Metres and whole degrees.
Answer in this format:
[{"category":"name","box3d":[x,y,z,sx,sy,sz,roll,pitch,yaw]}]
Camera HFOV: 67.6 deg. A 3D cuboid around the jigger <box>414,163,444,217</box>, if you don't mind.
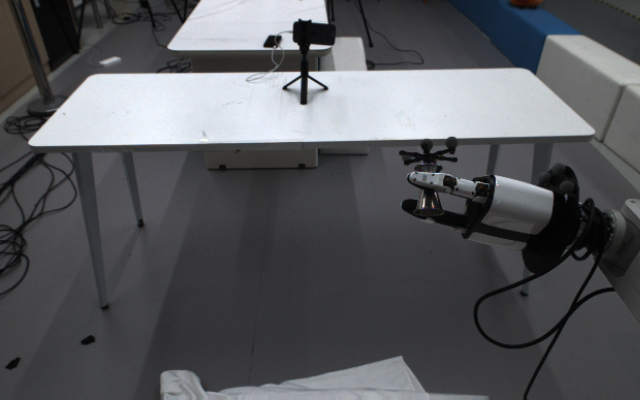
[{"category":"jigger","box3d":[0.154,-0.016,0.696,0.043,0.043,0.071,3,75,1]}]
